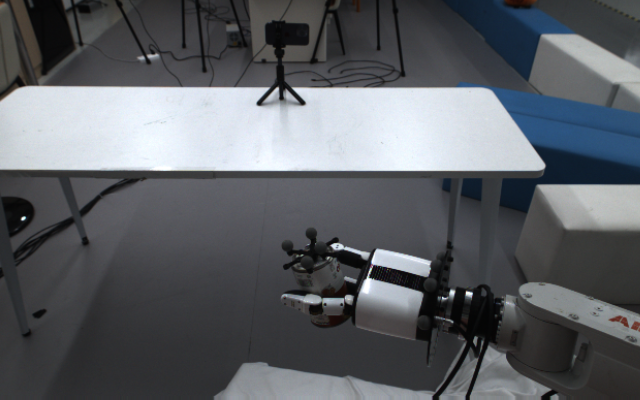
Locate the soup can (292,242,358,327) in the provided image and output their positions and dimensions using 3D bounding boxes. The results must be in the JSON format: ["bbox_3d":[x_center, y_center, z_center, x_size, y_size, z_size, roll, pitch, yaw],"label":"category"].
[{"bbox_3d":[0.006,0.124,0.698,0.067,0.101,0.067,-16,22,7],"label":"soup can"}]
